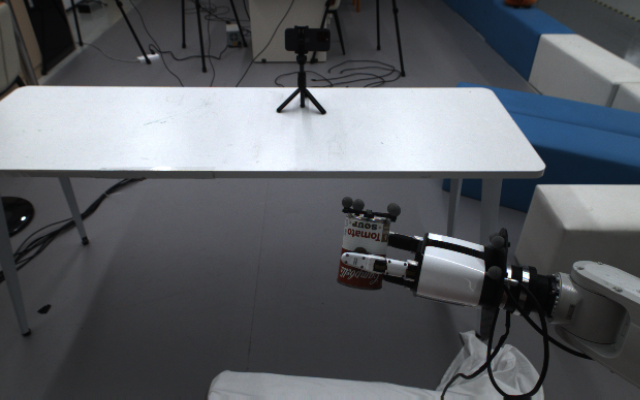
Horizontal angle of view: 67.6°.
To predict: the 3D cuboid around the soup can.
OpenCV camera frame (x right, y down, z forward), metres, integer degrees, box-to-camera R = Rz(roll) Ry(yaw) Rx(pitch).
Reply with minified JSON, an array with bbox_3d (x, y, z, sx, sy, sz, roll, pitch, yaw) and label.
[{"bbox_3d":[0.066,0.073,0.712,0.067,0.101,0.067,7,4,0],"label":"soup can"}]
